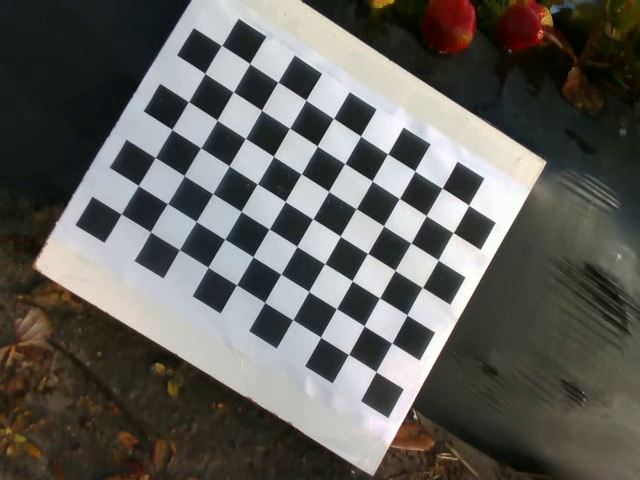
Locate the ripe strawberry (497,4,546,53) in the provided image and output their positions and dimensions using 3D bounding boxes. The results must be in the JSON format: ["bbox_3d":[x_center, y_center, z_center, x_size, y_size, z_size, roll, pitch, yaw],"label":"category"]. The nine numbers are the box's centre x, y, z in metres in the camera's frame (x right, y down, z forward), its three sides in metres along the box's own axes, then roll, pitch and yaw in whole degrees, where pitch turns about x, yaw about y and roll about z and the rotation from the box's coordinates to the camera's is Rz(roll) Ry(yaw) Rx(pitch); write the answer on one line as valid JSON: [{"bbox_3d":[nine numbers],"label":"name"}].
[{"bbox_3d":[0.181,-0.185,0.629,0.044,0.042,0.055,-33,38,-7],"label":"ripe strawberry"}]

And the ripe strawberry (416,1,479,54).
[{"bbox_3d":[0.111,-0.176,0.580,0.050,0.050,0.065,-9,31,-6],"label":"ripe strawberry"}]
